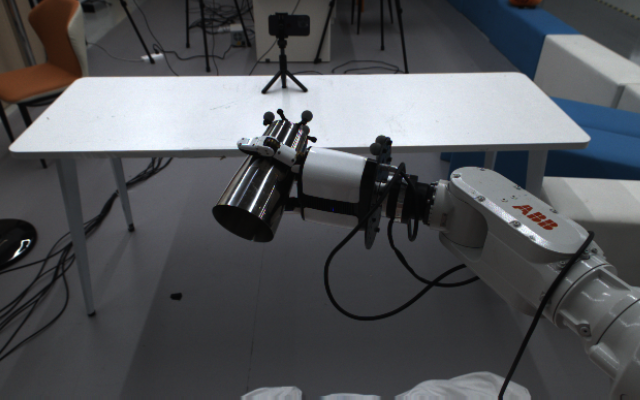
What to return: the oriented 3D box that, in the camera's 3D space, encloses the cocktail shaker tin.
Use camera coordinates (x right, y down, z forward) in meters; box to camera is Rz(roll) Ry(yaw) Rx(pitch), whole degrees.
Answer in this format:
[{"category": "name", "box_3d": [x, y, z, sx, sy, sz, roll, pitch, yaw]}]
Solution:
[{"category": "cocktail shaker tin", "box_3d": [-0.080, -0.036, 0.703, 0.093, 0.093, 0.170, 14, 57, 16]}]
